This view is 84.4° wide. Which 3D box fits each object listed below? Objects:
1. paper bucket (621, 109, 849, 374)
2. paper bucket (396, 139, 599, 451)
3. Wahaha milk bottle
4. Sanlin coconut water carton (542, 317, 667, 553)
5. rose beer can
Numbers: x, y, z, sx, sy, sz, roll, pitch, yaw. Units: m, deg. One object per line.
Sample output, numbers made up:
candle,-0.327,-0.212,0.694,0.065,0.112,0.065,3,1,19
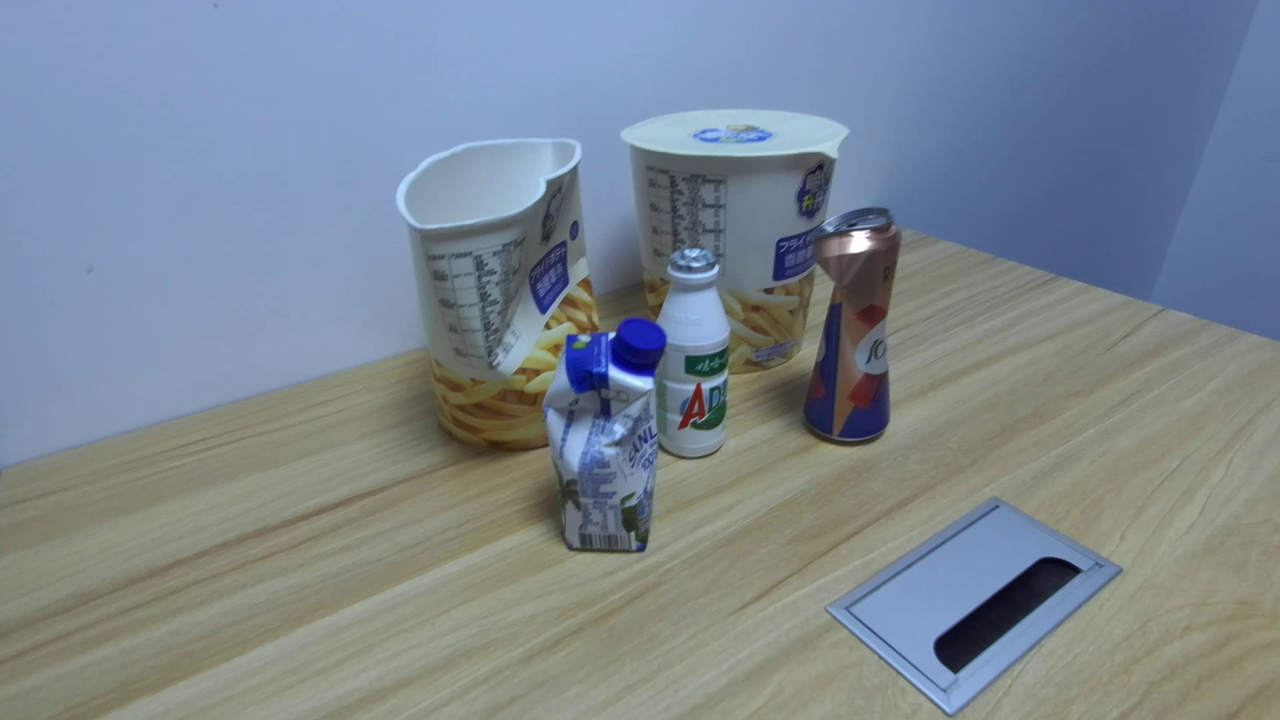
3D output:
paper bucket,0.081,-0.107,0.632,0.198,0.195,0.198,-2,29,1
paper bucket,-0.096,-0.053,0.543,0.148,0.199,0.217,-11,30,-16
Wahaha milk bottle,0.036,-0.003,0.495,0.053,0.147,0.053,-1,29,1
Sanlin coconut water carton,-0.020,0.044,0.418,0.070,0.144,0.060,2,30,4
rose beer can,0.155,-0.021,0.511,0.070,0.168,0.069,-12,26,-13
